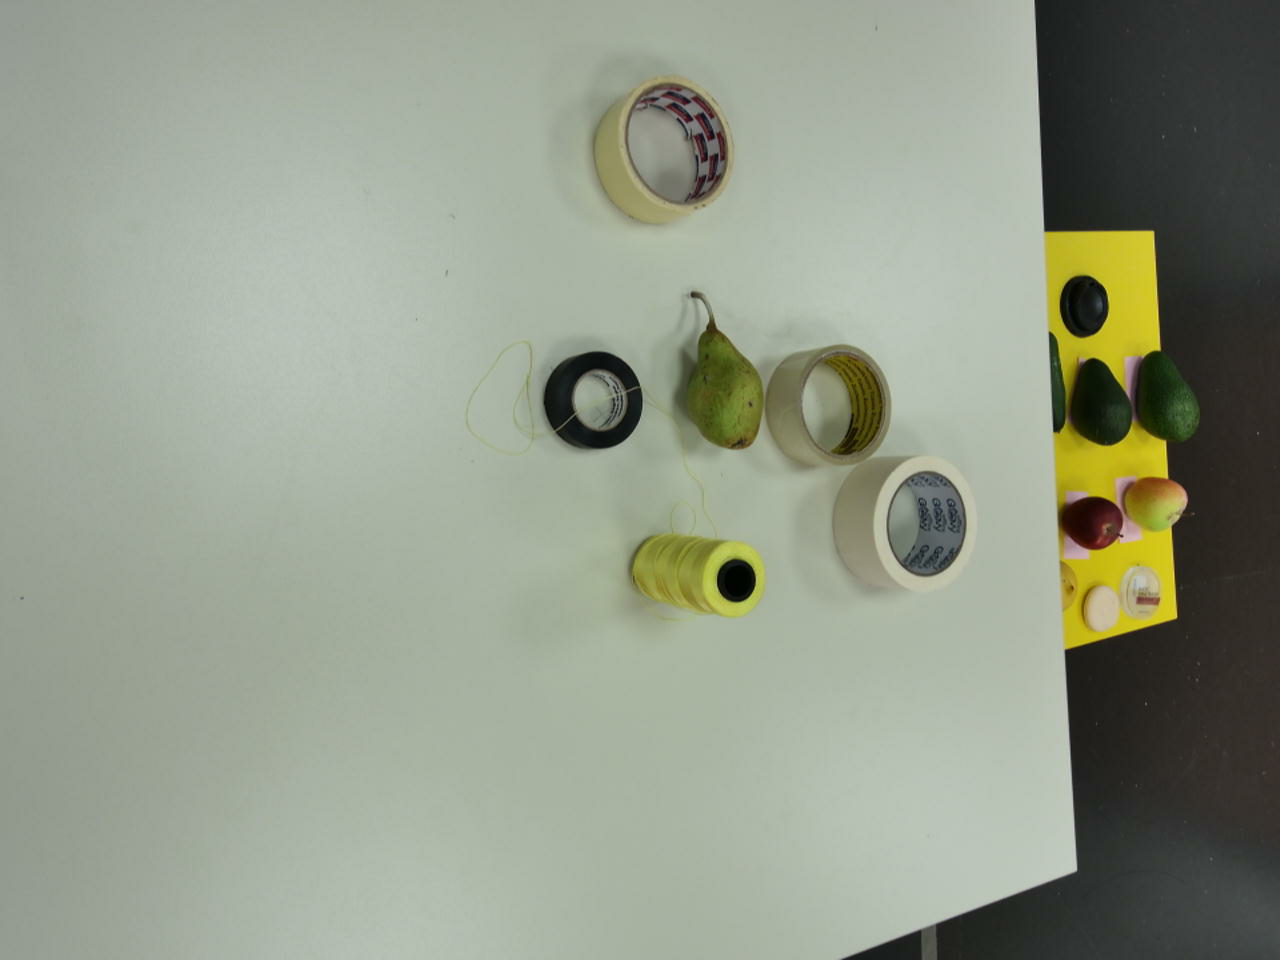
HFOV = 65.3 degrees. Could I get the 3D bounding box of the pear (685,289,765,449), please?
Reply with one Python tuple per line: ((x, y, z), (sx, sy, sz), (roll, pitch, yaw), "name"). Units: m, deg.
((0.063, -0.078, 0.707), (0.056, 0.056, 0.111), (11, 85, -28), "pear")
